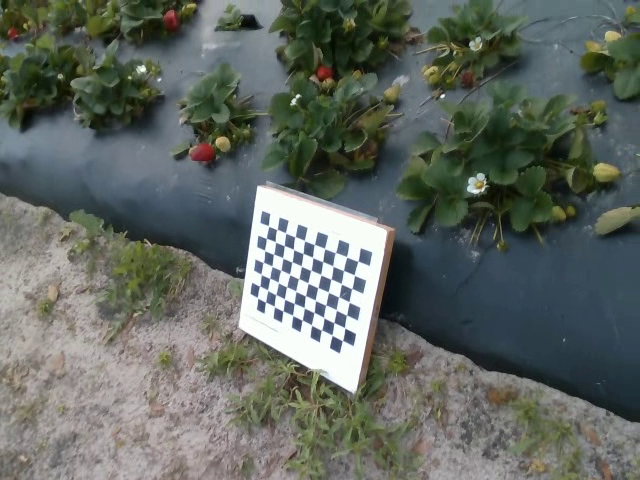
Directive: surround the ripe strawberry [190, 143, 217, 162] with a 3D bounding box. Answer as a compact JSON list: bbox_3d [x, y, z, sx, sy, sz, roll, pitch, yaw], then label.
[{"bbox_3d":[-0.253,-0.179,1.379,0.046,0.046,0.059,14,36,42],"label":"ripe strawberry"}]
